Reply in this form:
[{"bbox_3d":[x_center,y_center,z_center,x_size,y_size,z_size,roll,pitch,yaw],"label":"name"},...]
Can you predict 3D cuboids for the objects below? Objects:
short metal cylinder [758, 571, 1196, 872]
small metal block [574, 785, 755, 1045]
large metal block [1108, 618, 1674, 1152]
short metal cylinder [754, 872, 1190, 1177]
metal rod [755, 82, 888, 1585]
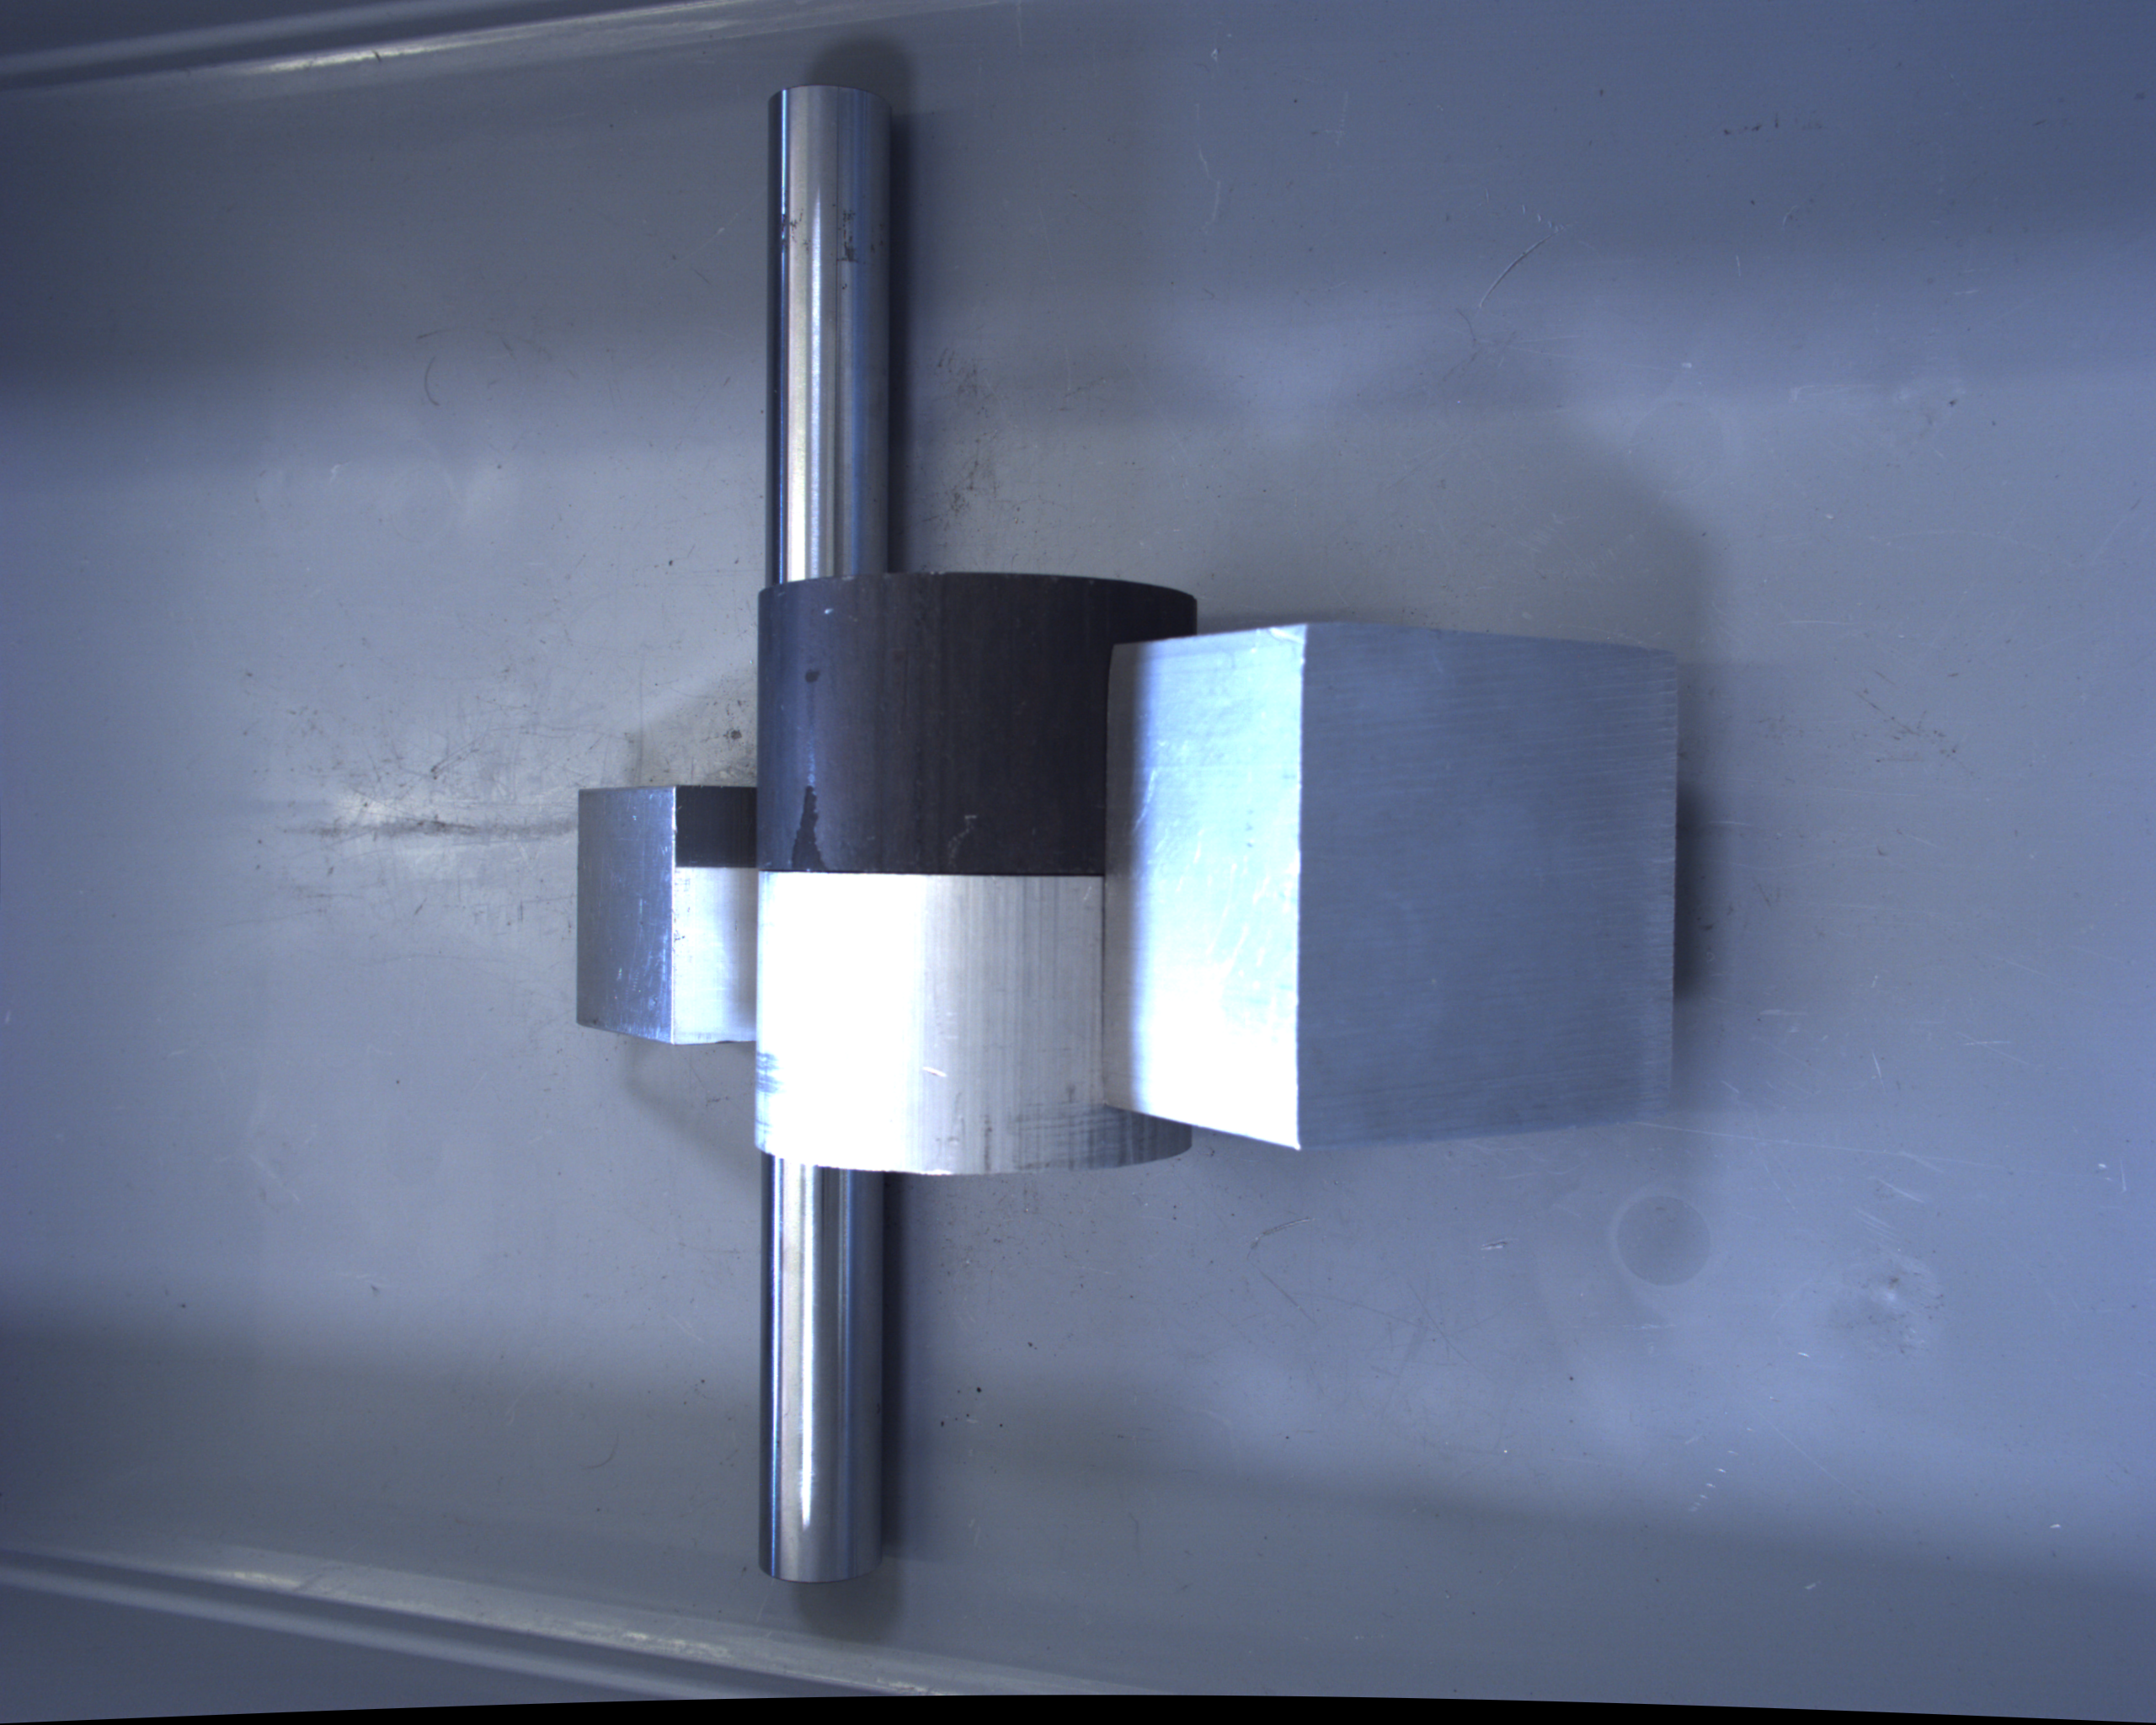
[{"bbox_3d":[-0.019,-0.024,0.385,0.080,0.080,0.050,1,90,20],"label":"short metal cylinder"},{"bbox_3d":[-0.081,0.010,0.425,0.050,0.025,0.050,0,89,54],"label":"small metal block"},{"bbox_3d":[0.053,0.003,0.353,0.050,0.081,0.079,2,92,58],"label":"large metal block"},{"bbox_3d":[-0.019,0.027,0.385,0.080,0.080,0.050,1,90,20],"label":"short metal cylinder"},{"bbox_3d":[-0.052,-0.006,0.426,0.025,0.025,0.298,0,90,20],"label":"metal rod"}]
